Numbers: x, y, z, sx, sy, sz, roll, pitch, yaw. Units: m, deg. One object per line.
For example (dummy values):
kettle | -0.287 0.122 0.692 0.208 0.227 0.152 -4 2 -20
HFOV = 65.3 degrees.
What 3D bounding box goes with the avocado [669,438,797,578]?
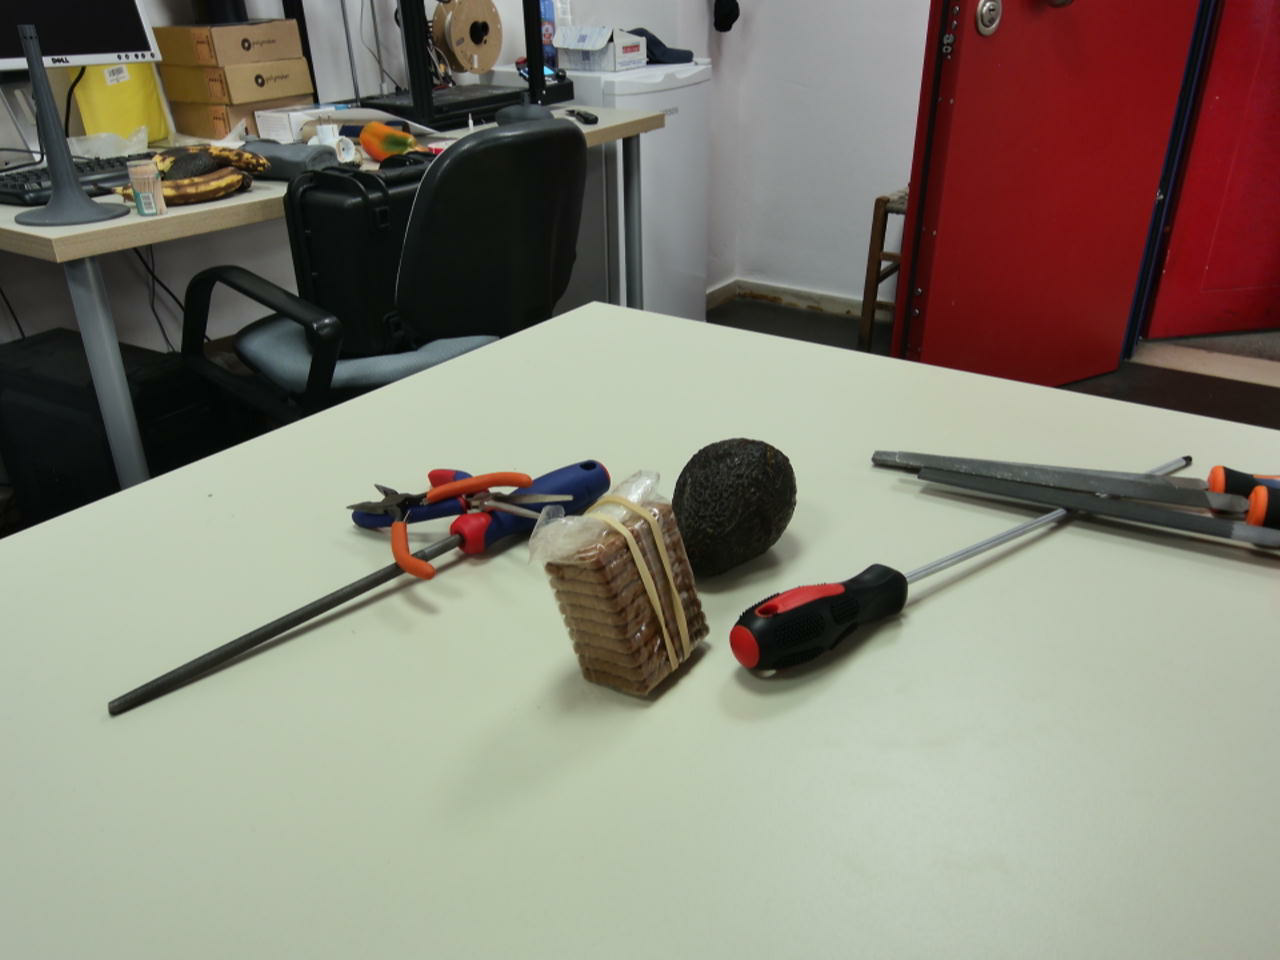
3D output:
avocado | 0.051 0.012 0.586 0.090 0.069 0.070 -14 28 -26
